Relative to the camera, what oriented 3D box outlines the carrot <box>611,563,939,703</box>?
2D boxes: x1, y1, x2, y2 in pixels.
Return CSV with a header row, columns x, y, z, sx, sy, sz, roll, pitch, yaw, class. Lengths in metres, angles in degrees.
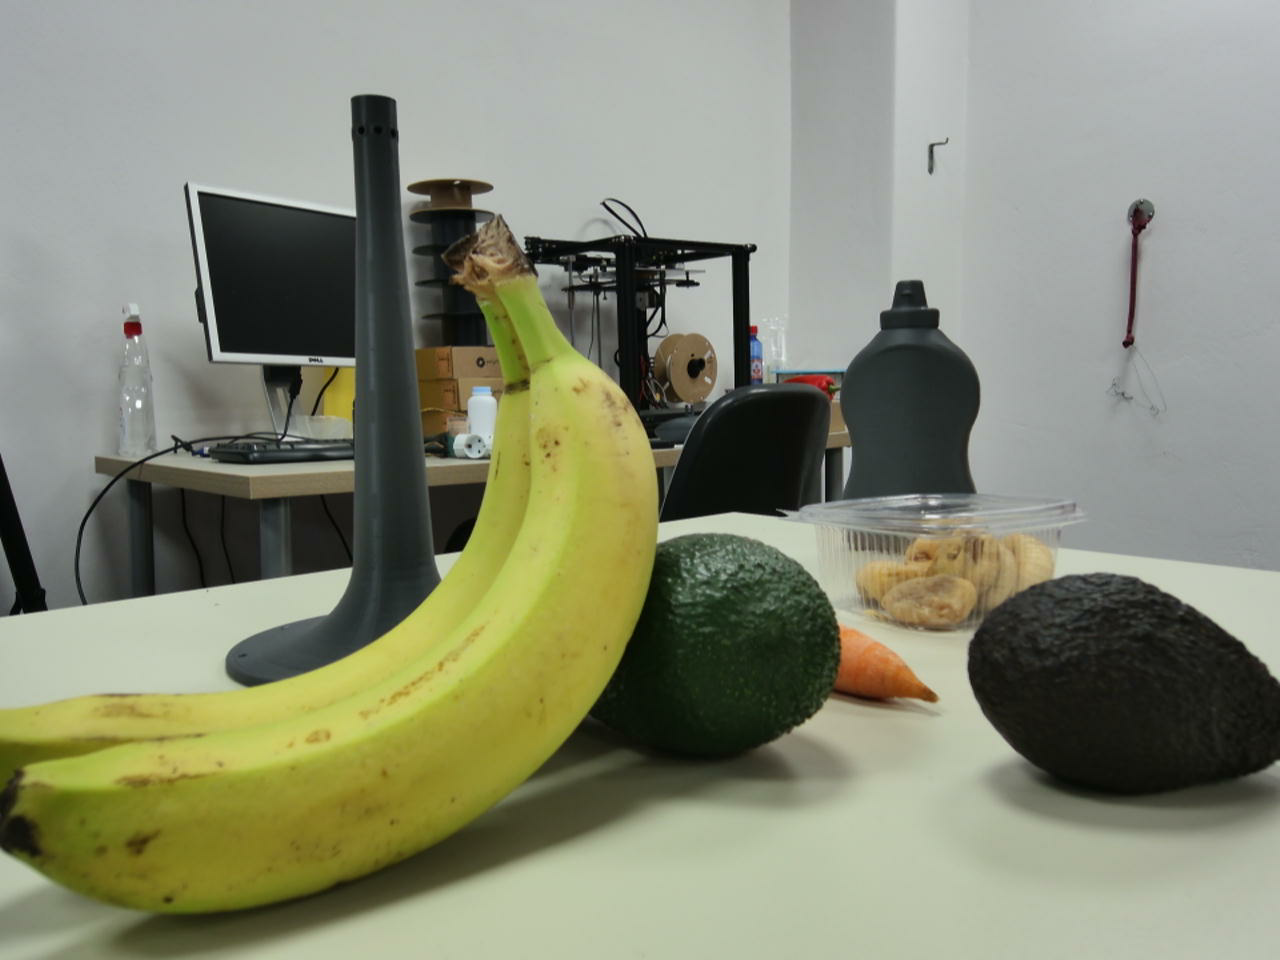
x,y,z,sx,sy,sz,roll,pitch,yaw,class
0.057,0.069,0.474,0.039,0.041,0.196,-2,5,-41,carrot
